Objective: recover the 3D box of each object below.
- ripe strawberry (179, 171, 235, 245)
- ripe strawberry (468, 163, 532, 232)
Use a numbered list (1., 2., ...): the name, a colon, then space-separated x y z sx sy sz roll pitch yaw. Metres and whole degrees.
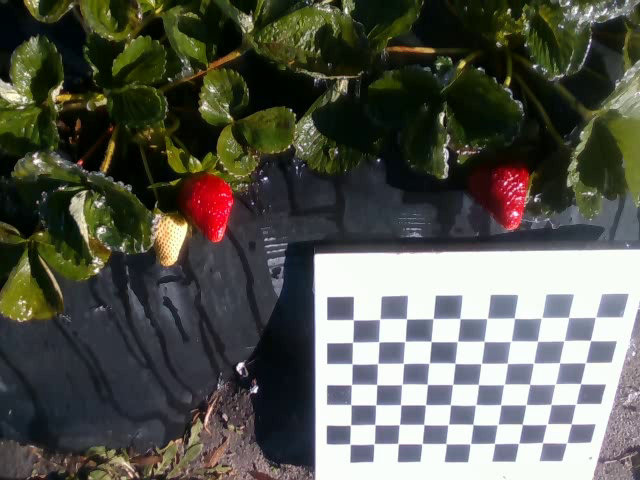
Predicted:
1. ripe strawberry: -0.086 -0.021 0.468 0.042 0.061 0.046 -13 -17 5
2. ripe strawberry: 0.142 -0.032 0.460 0.049 0.061 0.044 -7 -7 2
